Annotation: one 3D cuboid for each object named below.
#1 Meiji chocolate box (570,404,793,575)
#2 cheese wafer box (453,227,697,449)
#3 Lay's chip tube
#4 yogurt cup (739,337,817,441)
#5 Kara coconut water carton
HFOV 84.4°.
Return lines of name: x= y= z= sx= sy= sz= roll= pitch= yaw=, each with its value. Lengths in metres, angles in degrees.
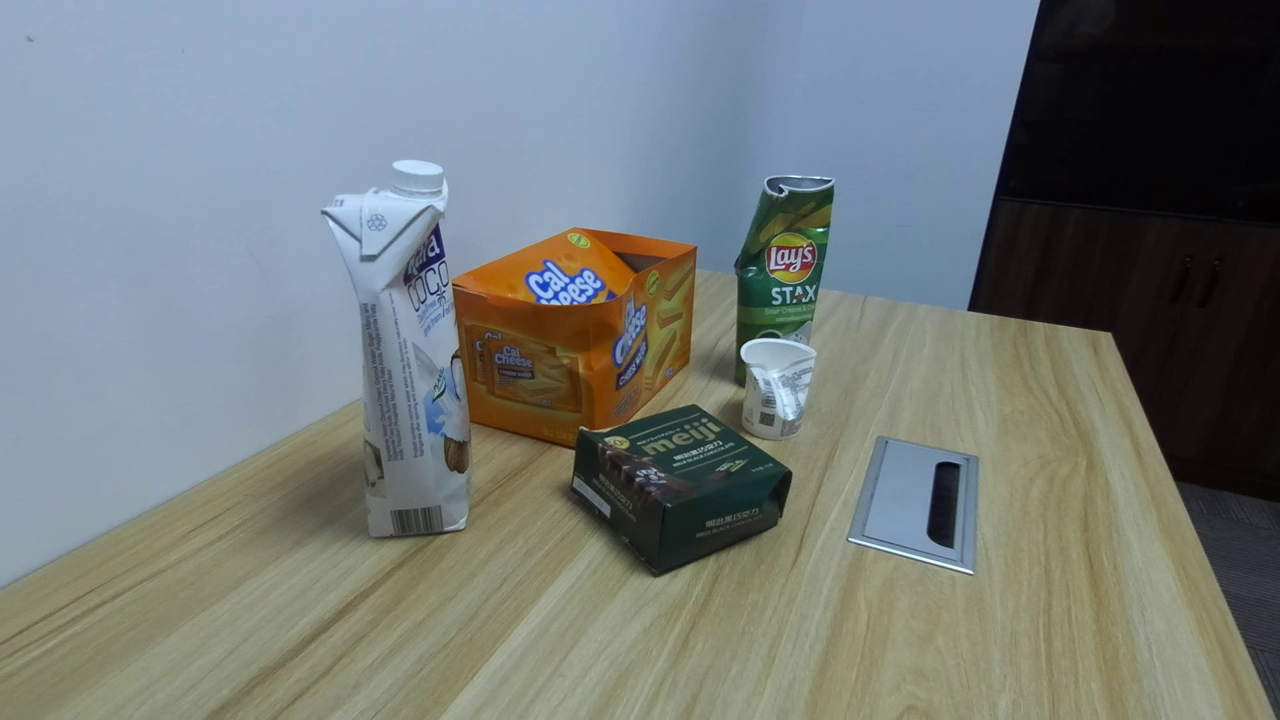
Meiji chocolate box: x=0.028 y=0.084 z=0.497 sx=0.116 sy=0.058 sz=0.122 roll=-11 pitch=27 yaw=-33
cheese wafer box: x=-0.053 y=-0.028 z=0.659 sx=0.152 sy=0.132 sz=0.231 roll=14 pitch=26 yaw=21
Lay's chip tube: x=0.132 y=-0.070 z=0.669 sx=0.069 sy=0.201 sz=0.077 roll=12 pitch=29 yaw=21
yogurt cup: x=0.116 y=0.026 z=0.613 sx=0.067 sy=0.070 sz=0.067 roll=0 pitch=24 yaw=0
Kara coconut water carton: x=-0.149 y=-0.004 z=0.456 sx=0.069 sy=0.238 sz=0.115 roll=-1 pitch=24 yaw=-9
